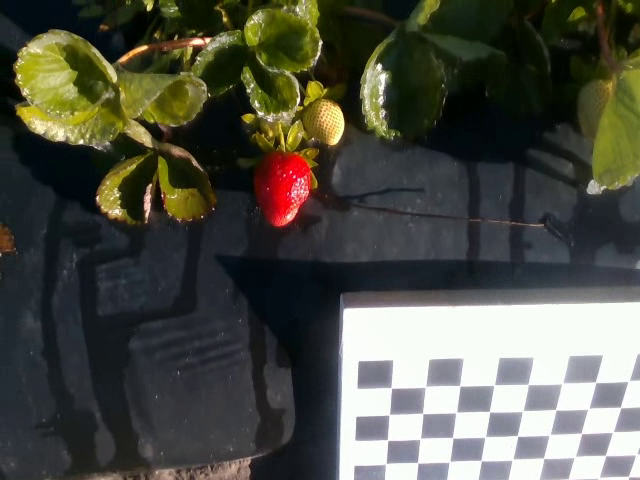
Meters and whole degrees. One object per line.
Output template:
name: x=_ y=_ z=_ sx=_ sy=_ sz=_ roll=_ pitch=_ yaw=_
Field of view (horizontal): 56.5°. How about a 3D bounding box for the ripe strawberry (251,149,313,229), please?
ripe strawberry: x=-0.017 y=-0.021 z=0.286 sx=0.039 sy=0.039 sz=0.040 roll=-5 pitch=-37 yaw=10
